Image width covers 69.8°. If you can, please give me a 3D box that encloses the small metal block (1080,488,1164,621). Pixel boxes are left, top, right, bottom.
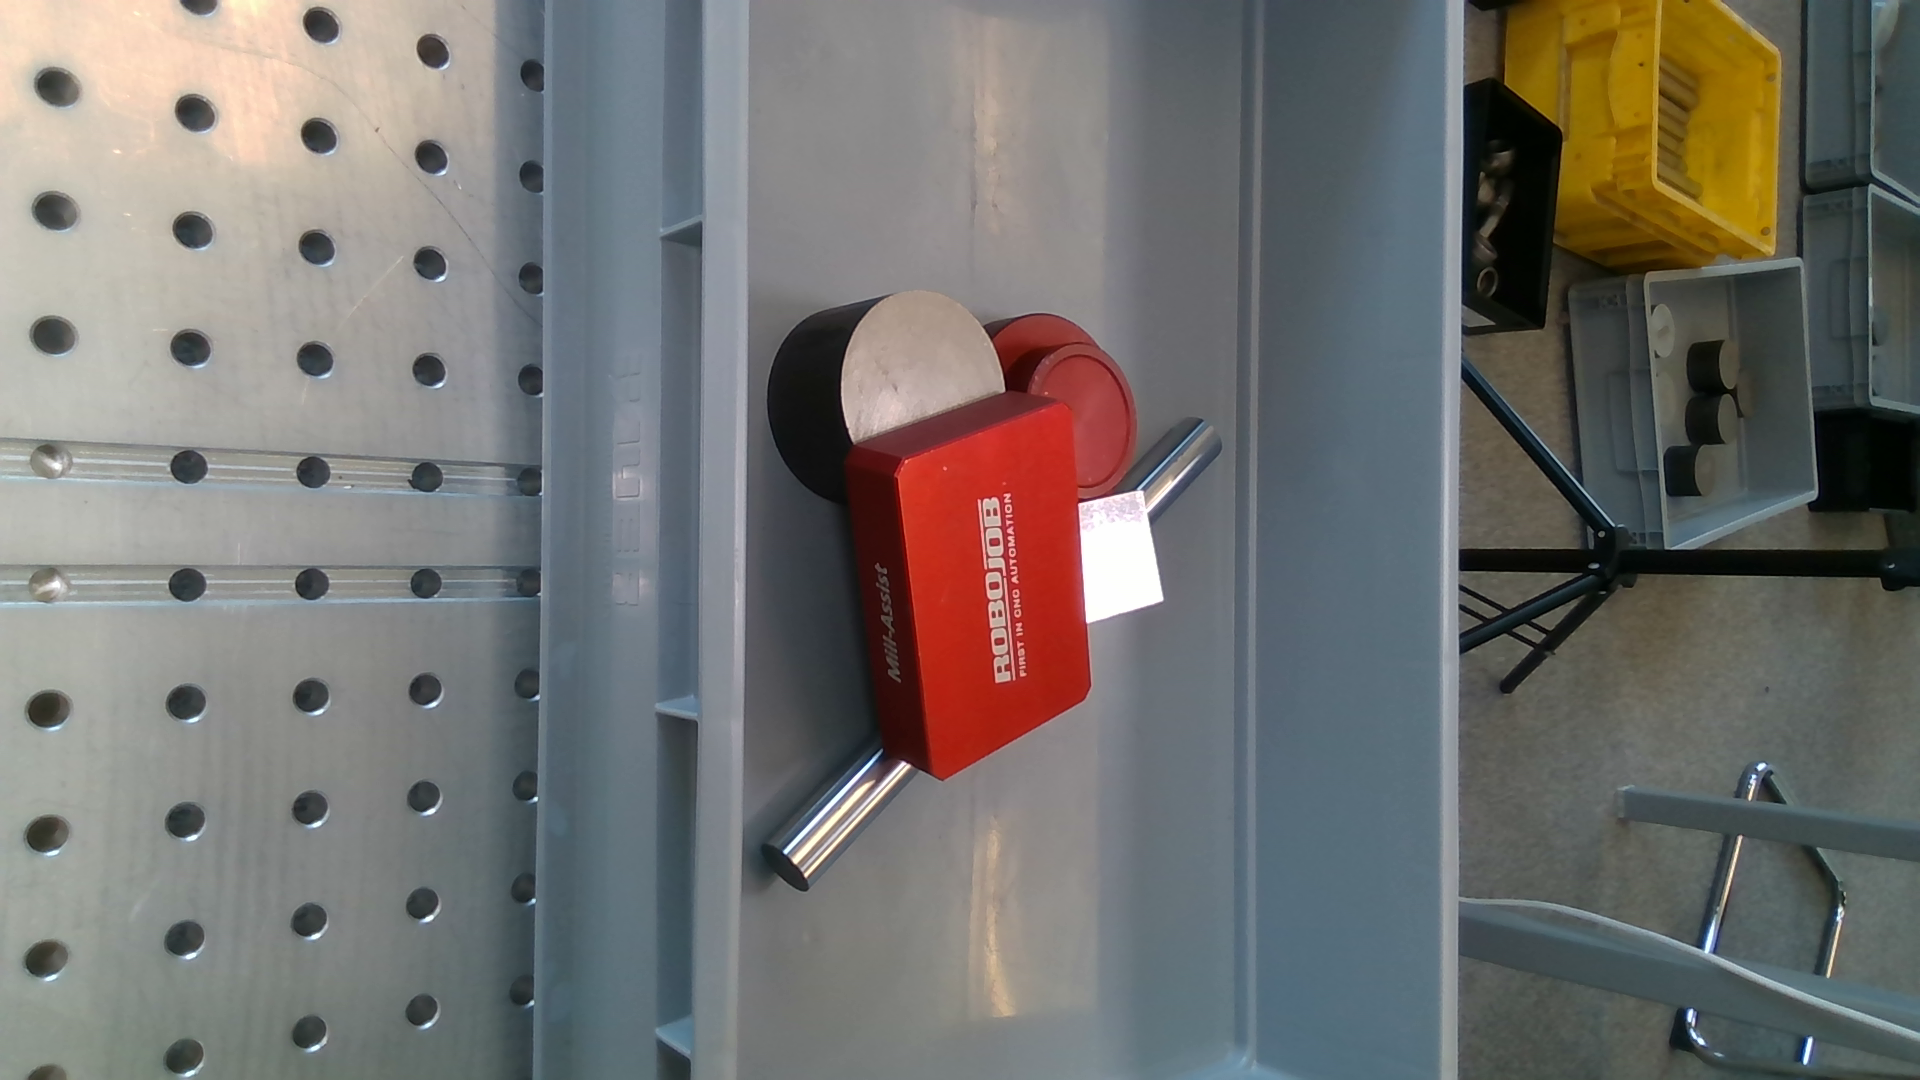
[{"bbox_3d":[0.058,0.007,0.600,0.050,0.025,0.050,-13,93,-37],"label":"small metal block"}]

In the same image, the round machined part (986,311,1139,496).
[{"bbox_3d":[0.041,-0.051,0.604,0.098,0.042,0.098,1,88,-40],"label":"round machined part"}]

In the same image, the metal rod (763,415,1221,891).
[{"bbox_3d":[0.026,0.037,0.604,0.299,0.025,0.025,-44,116,-31],"label":"metal rod"}]

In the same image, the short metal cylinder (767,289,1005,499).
[{"bbox_3d":[-0.028,-0.055,0.541,0.080,0.050,0.080,0,90,-40],"label":"short metal cylinder"}]

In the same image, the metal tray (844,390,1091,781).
[{"bbox_3d":[0.006,0.016,0.534,0.090,0.030,0.130,-23,118,-37],"label":"metal tray"}]
